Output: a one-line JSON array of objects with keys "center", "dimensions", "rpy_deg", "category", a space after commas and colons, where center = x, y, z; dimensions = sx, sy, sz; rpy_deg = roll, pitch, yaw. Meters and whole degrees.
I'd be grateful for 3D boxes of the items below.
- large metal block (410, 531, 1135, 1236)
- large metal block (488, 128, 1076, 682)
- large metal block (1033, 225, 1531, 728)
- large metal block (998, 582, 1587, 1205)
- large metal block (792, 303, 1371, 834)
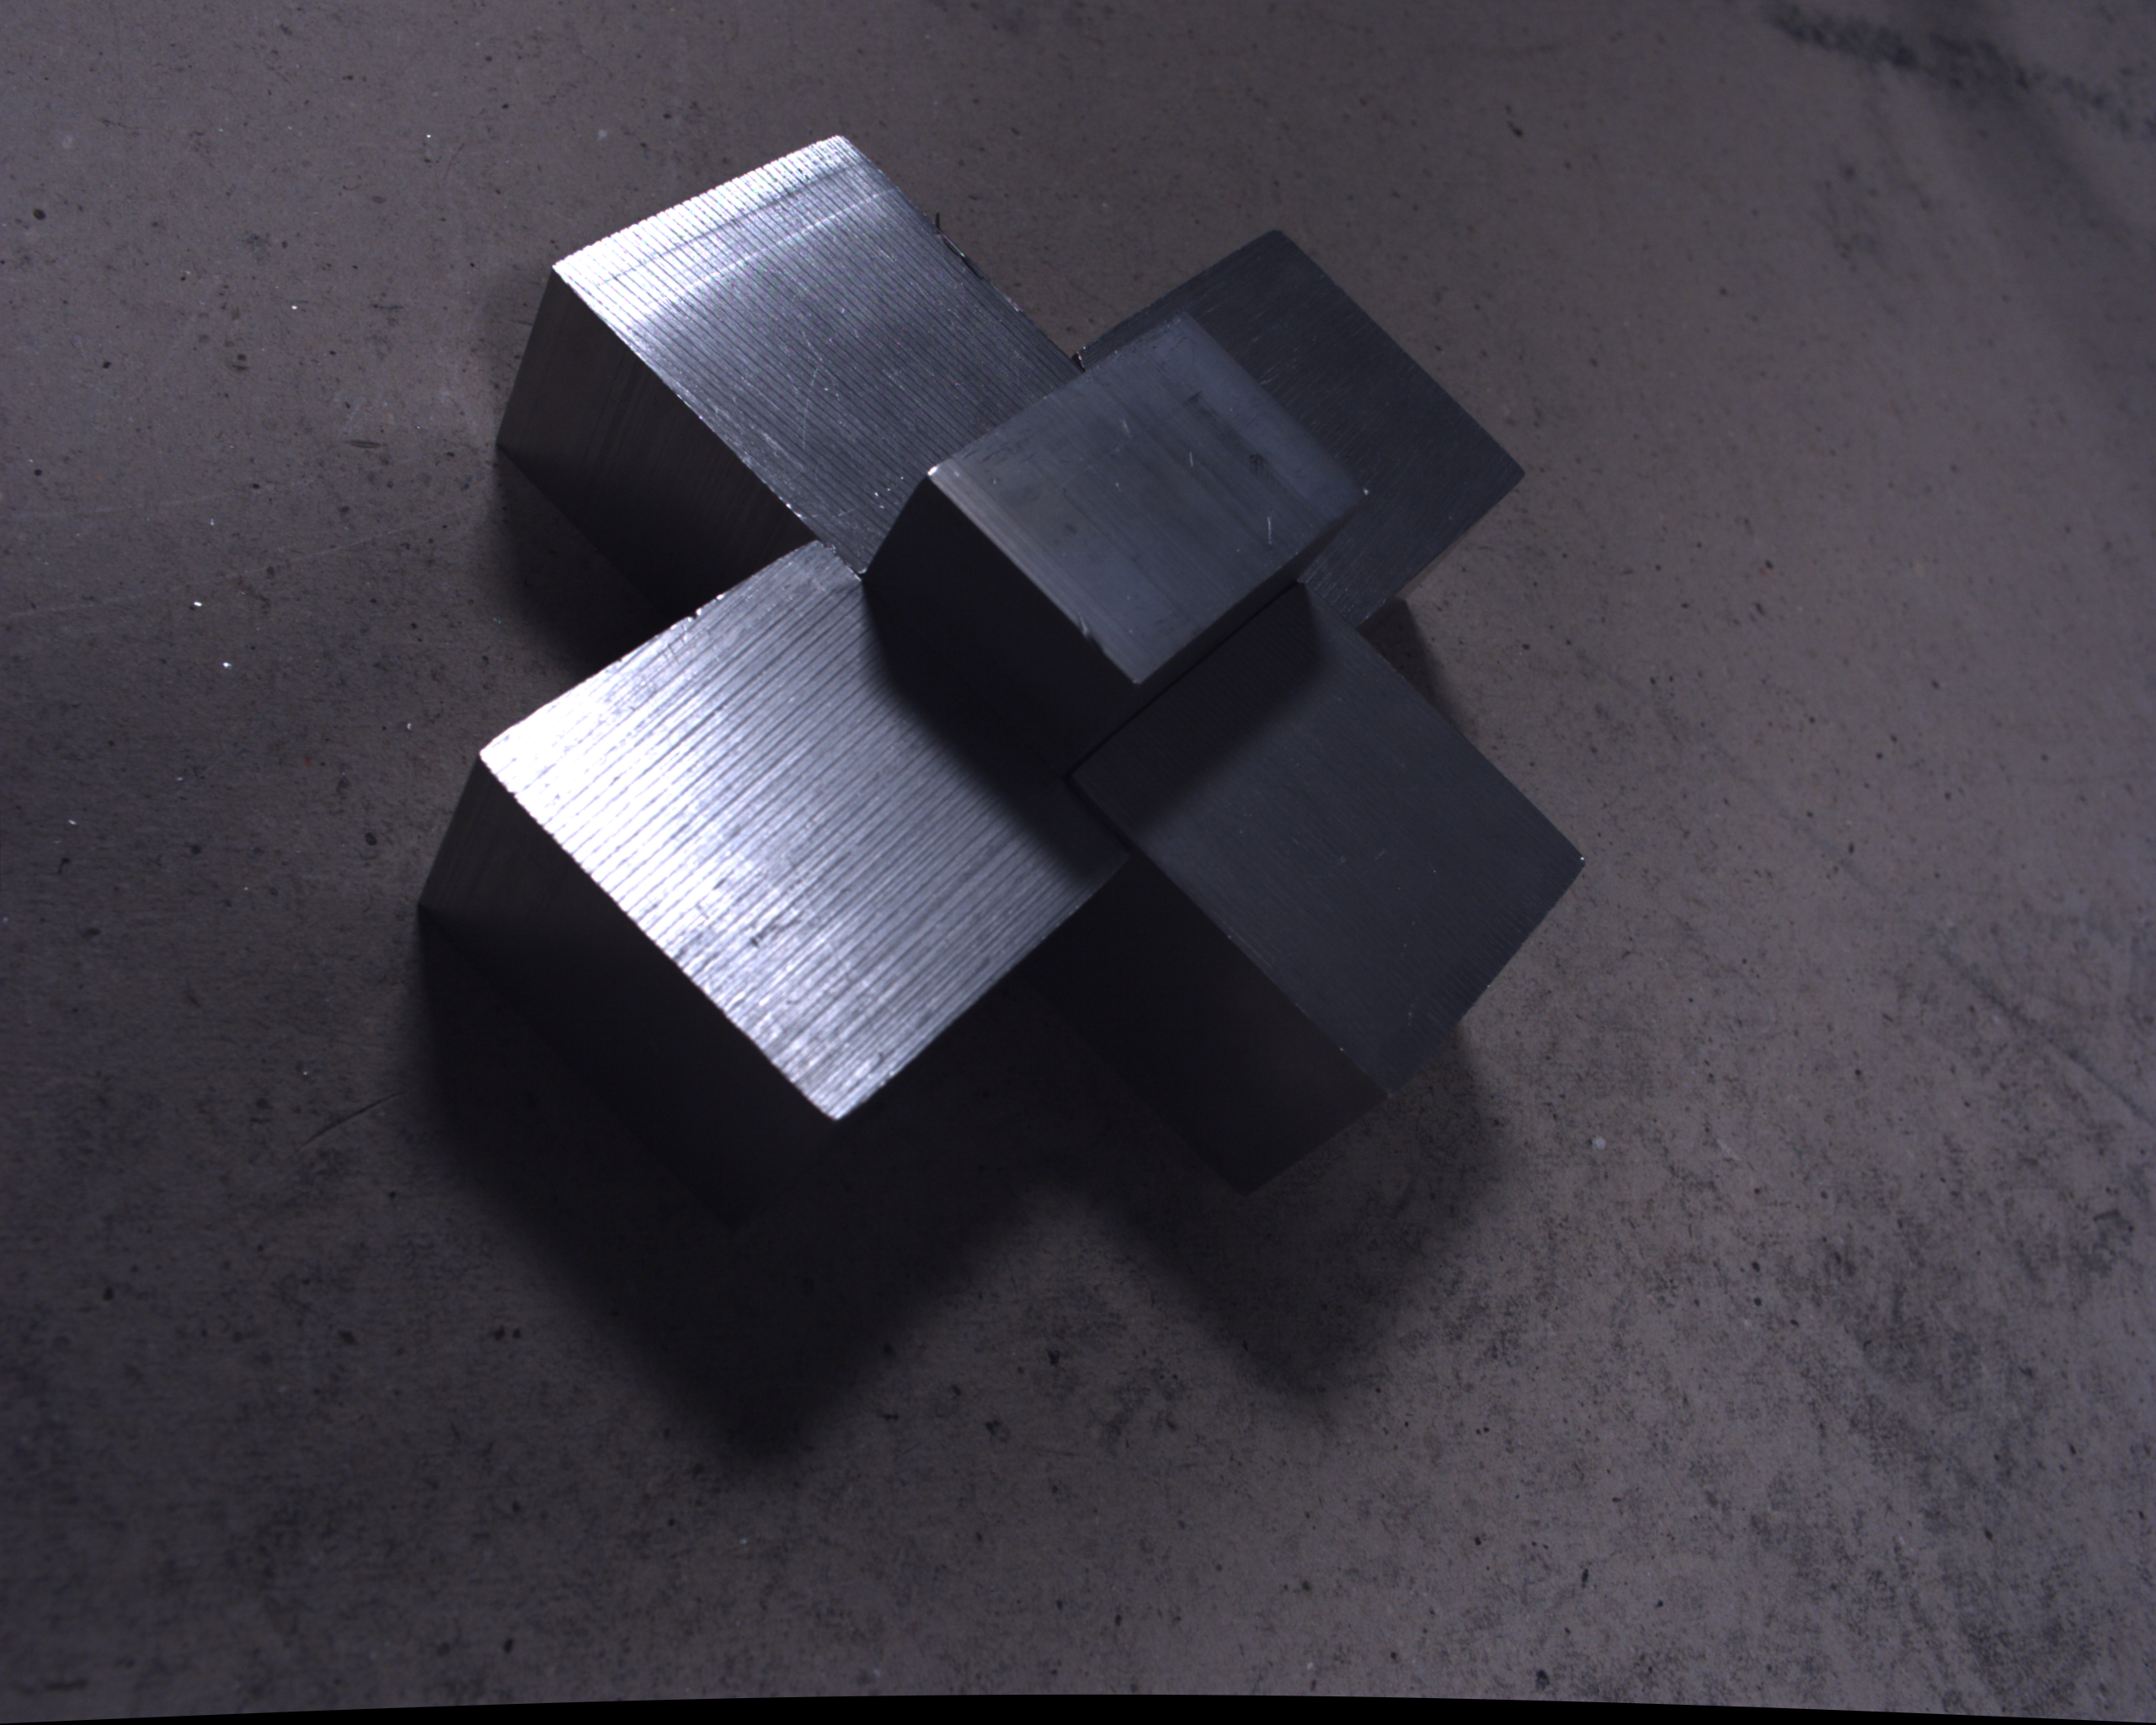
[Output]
[{"center": [-0.052, 0.002, 0.360], "dimensions": [0.080, 0.050, 0.080], "rpy_deg": [45, 51, 3], "category": "large metal block"}, {"center": [-0.054, -0.088, 0.414], "dimensions": [0.080, 0.050, 0.080], "rpy_deg": [45, 51, 3], "category": "large metal block"}, {"center": [0.039, -0.083, 0.462], "dimensions": [0.080, 0.050, 0.080], "rpy_deg": [45, 51, 3], "category": "large metal block"}, {"center": [0.039, 0.005, 0.408], "dimensions": [0.080, 0.050, 0.080], "rpy_deg": [45, 51, 3], "category": "large metal block"}, {"center": [-0.002, -0.049, 0.400], "dimensions": [0.050, 0.080, 0.080], "rpy_deg": [45, 51, 3], "category": "large metal block"}]
